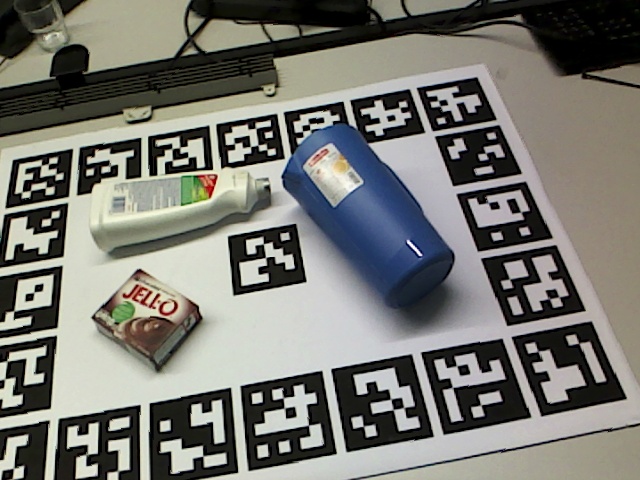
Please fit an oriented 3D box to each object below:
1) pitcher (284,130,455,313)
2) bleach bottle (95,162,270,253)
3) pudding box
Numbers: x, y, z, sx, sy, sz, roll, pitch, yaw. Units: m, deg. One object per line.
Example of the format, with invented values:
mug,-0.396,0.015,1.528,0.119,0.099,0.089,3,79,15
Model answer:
pitcher,0.074,-0.025,0.842,0.187,0.133,0.244,-10,53,-44
bleach bottle,-0.197,-0.057,0.912,0.250,0.067,0.103,-12,60,-4
pudding box,-0.228,0.099,0.819,0.114,0.038,0.090,30,59,22
